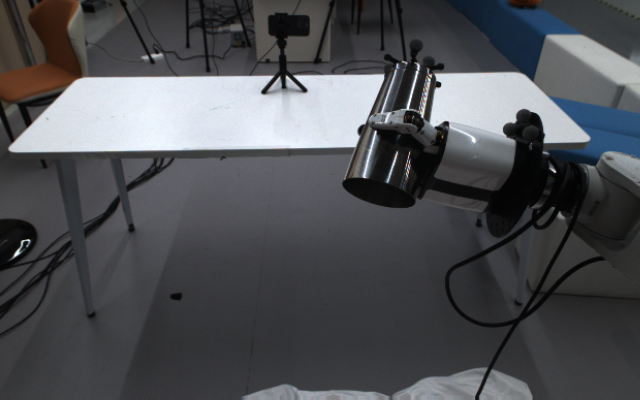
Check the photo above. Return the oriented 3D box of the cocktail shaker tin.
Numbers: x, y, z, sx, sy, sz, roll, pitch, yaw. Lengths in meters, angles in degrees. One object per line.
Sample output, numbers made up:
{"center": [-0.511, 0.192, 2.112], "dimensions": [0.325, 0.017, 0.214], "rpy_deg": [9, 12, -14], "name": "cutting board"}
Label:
{"center": [0.097, -0.084, 0.614], "dimensions": [0.093, 0.093, 0.170], "rpy_deg": [13, 74, 15], "name": "cocktail shaker tin"}
